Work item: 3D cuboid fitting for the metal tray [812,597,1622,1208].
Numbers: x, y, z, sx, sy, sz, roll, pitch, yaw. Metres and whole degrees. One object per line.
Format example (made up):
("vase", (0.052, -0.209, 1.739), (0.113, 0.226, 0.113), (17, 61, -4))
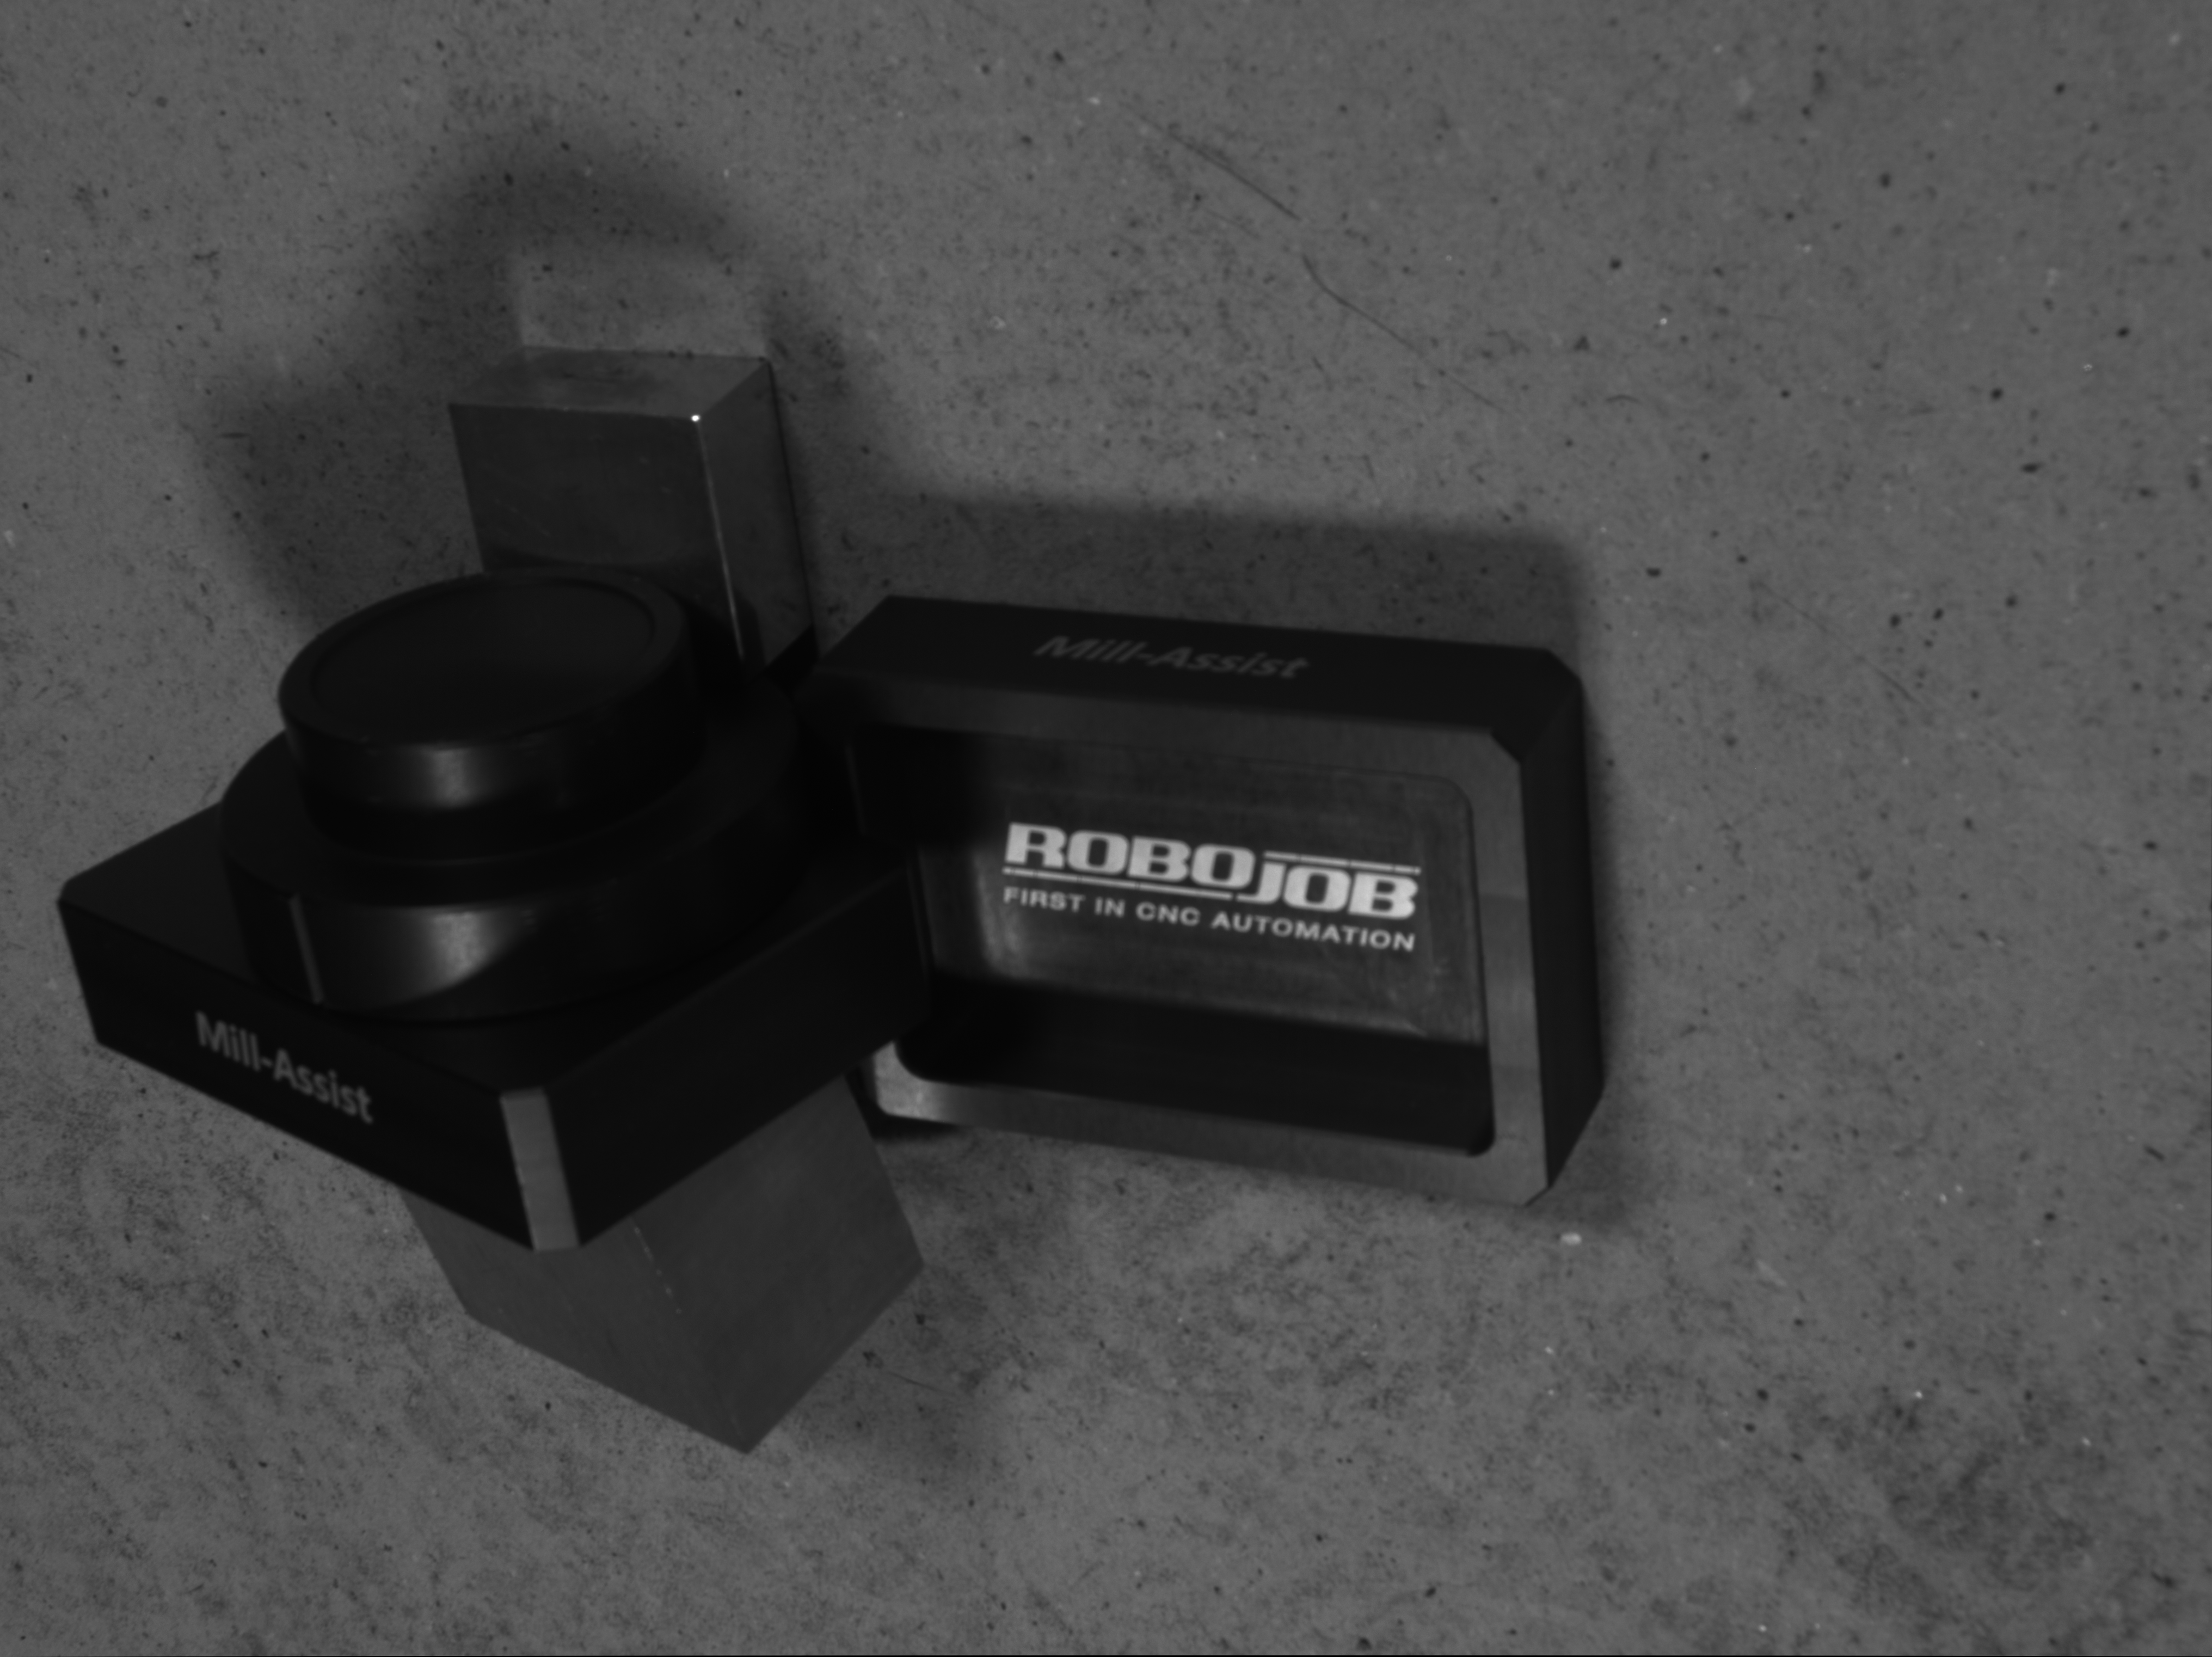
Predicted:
("metal tray", (0.019, 0.011, 0.625), (0.130, 0.030, 0.090), (6, 121, 23))

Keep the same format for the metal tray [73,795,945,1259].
("metal tray", (-0.104, 0.021, 0.633), (0.130, 0.090, 0.030), (18, 128, 39))

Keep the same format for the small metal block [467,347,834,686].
("small metal block", (-0.079, -0.055, 0.639), (0.050, 0.025, 0.050), (6, 121, 23))

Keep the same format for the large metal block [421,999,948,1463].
("large metal block", (-0.085, 0.059, 0.670), (0.080, 0.050, 0.080), (17, 140, 39))

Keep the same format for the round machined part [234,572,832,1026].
("round machined part", (-0.097, -0.010, 0.614), (0.098, 0.098, 0.042), (6, 121, 24))
